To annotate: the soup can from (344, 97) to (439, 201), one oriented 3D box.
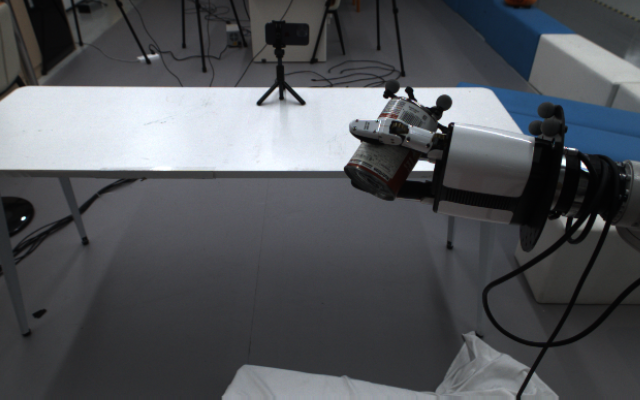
[{"bbox_3d":[0.083,-0.061,0.562,0.067,0.067,0.101,27,78,32],"label":"soup can"}]
